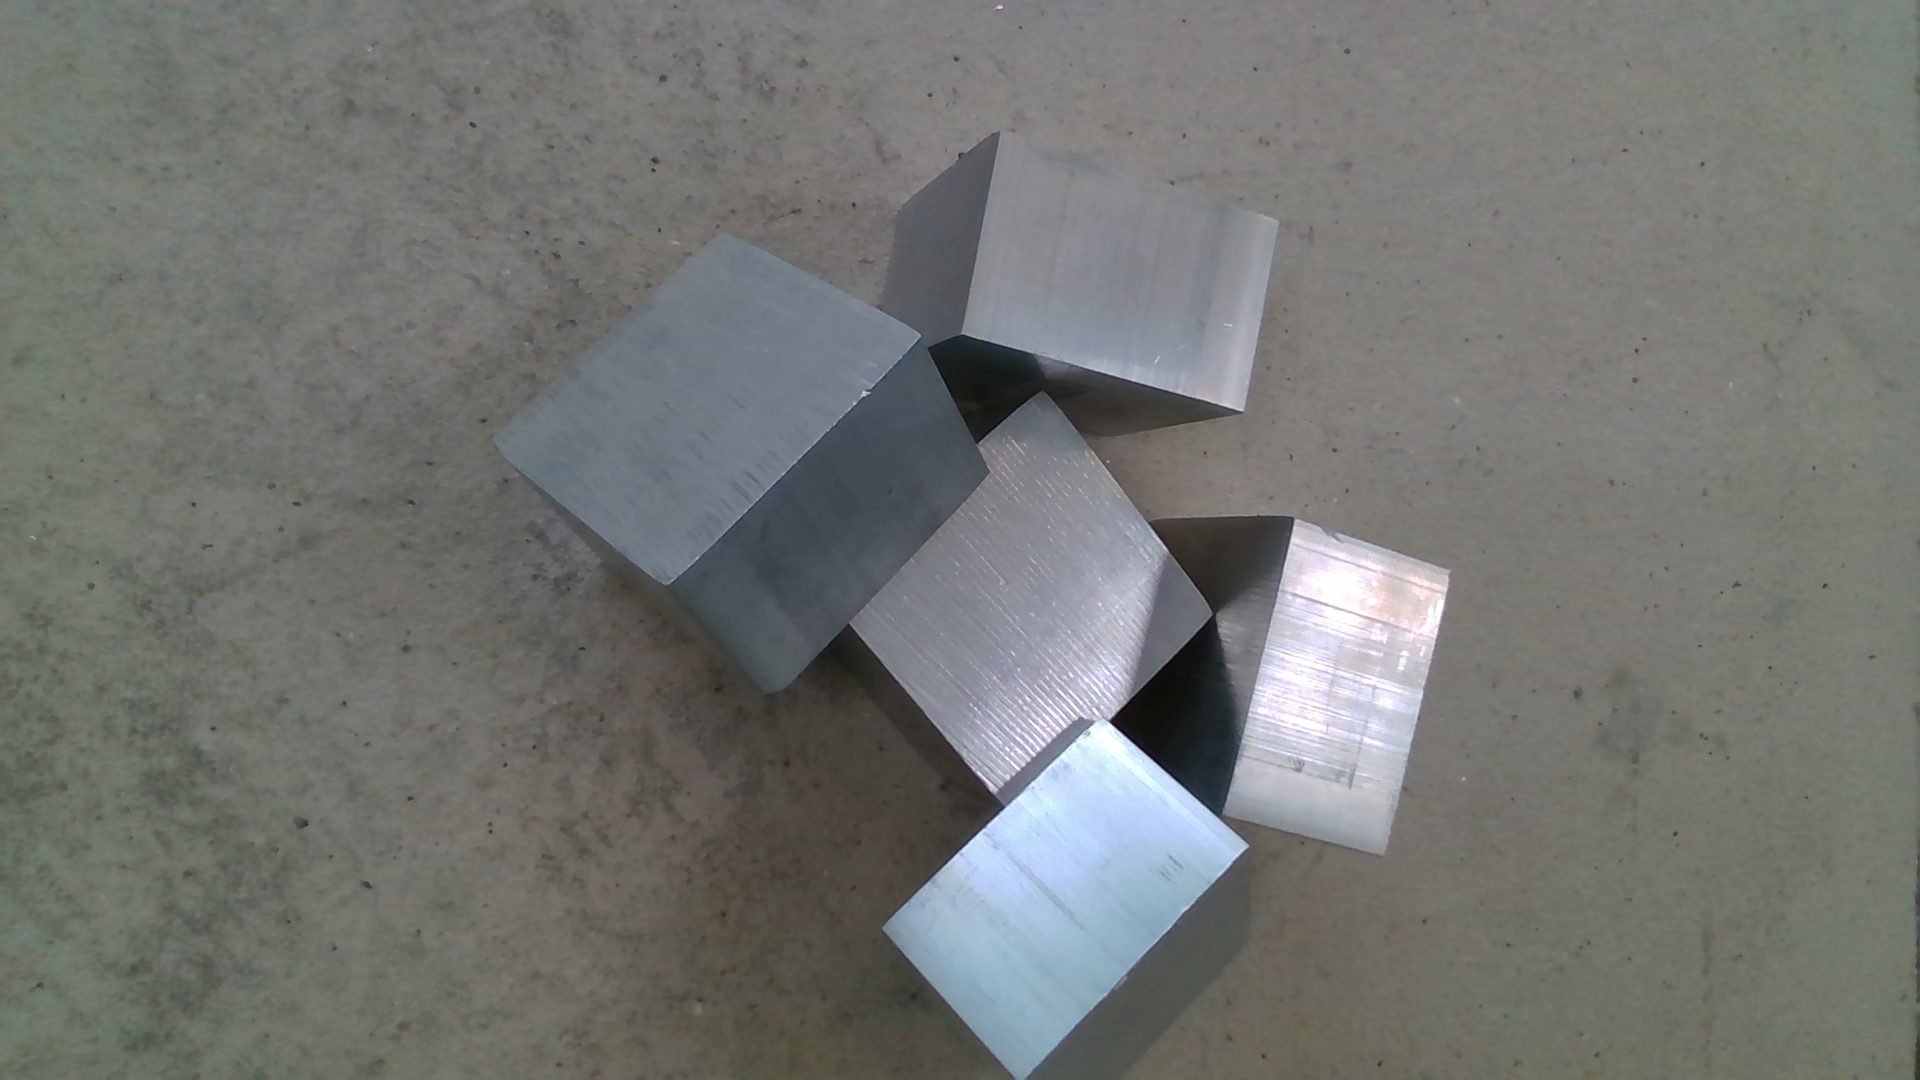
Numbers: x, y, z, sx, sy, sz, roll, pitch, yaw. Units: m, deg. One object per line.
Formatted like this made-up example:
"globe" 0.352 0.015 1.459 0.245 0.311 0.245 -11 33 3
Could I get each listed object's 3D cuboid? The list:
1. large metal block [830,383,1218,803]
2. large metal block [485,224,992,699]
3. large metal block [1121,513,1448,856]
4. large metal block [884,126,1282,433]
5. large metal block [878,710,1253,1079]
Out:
"large metal block" 0.009 0.015 0.382 0.080 0.050 0.080 -42 103 -14
"large metal block" -0.054 -0.022 0.339 0.080 0.080 0.050 -46 141 -14
"large metal block" 0.085 0.038 0.397 0.050 0.080 0.080 17 84 -20
"large metal block" 0.028 -0.066 0.376 0.080 0.080 0.050 12 86 -19
"large metal block" 0.032 0.105 0.370 0.080 0.080 0.050 -41 59 -16
